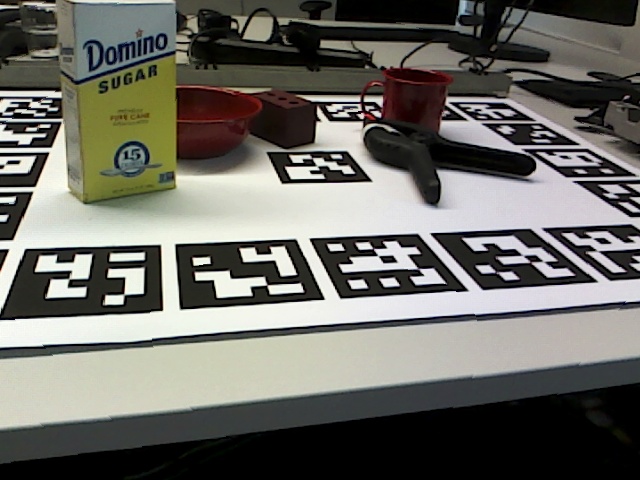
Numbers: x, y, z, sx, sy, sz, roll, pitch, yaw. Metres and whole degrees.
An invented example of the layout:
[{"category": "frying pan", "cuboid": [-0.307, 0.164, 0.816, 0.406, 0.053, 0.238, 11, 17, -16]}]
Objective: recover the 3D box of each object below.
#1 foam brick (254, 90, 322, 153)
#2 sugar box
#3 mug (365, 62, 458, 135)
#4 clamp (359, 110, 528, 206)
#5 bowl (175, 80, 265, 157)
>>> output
[{"category": "foam brick", "cuboid": [-0.042, -0.151, 0.784, 0.052, 0.051, 0.078, -20, 40, -36]}, {"category": "sugar box", "cuboid": [-0.182, -0.123, 0.571, 0.092, 0.176, 0.045, -16, 39, -36]}, {"category": "mug", "cuboid": [0.119, -0.189, 0.835, 0.117, 0.081, 0.093, 14, 30, 6]}, {"category": "clamp", "cuboid": [0.115, -0.108, 0.729, 0.164, 0.036, 0.204, -18, 38, -32]}, {"category": "bowl", "cuboid": [-0.147, -0.141, 0.730, 0.161, 0.055, 0.162, 5, 29, -3]}]
